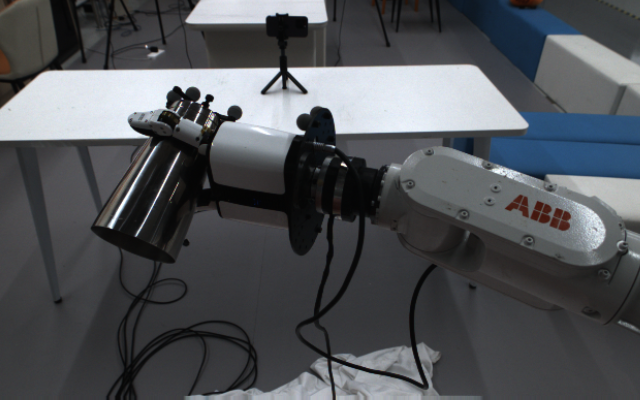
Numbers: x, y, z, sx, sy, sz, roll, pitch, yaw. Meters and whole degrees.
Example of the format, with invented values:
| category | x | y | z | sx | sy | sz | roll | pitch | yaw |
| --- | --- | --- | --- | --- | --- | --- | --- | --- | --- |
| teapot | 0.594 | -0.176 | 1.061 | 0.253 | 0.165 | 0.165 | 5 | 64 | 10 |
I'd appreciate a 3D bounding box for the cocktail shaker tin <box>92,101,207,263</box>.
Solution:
| category | x | y | z | sx | sy | sz | roll | pitch | yaw |
| --- | --- | --- | --- | --- | --- | --- | --- | --- | --- |
| cocktail shaker tin | -0.168 | -0.028 | 0.541 | 0.093 | 0.093 | 0.170 | 12 | 65 | 14 |
